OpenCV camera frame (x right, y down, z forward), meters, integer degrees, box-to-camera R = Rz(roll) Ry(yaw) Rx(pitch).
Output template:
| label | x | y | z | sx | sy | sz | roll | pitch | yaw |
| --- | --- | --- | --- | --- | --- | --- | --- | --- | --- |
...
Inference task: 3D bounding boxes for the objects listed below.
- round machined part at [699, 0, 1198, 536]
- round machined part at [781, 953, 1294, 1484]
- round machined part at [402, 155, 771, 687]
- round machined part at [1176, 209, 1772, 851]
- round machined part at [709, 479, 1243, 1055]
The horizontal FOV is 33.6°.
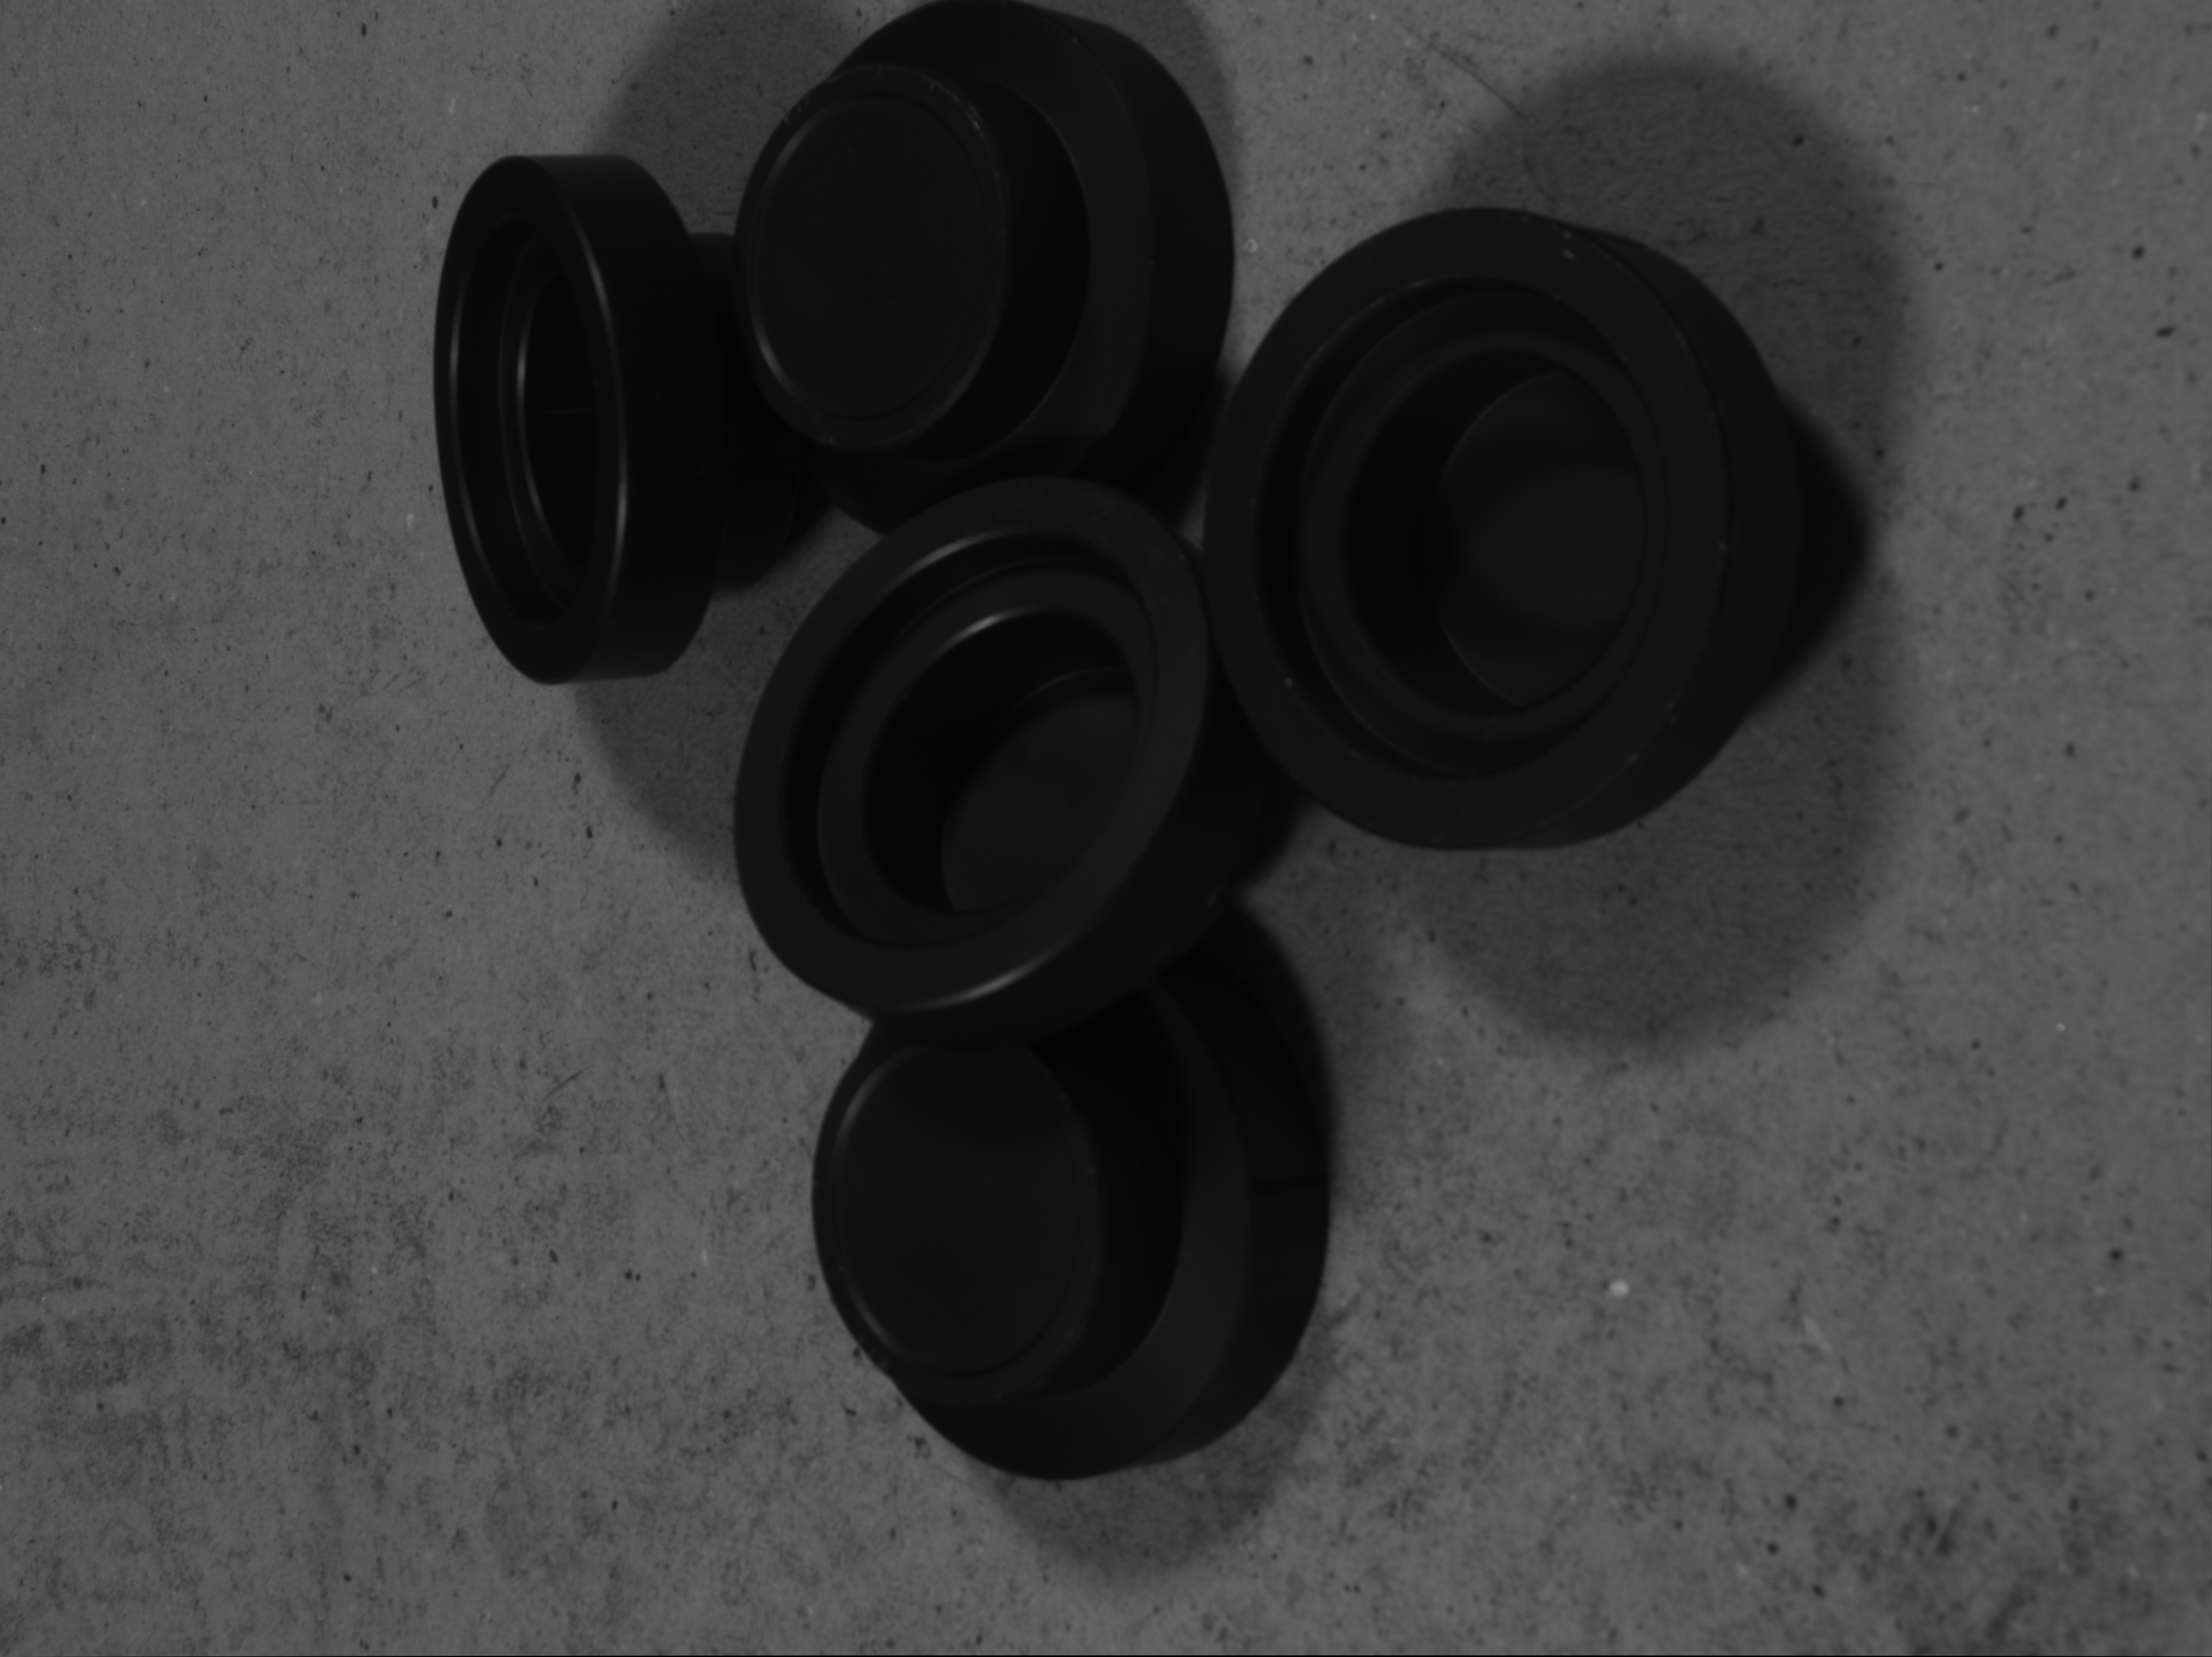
| label | x | y | z | sx | sy | sz | roll | pitch | yaw |
| --- | --- | --- | --- | --- | --- | --- | --- | --- | --- |
| round machined part | -0.034 | -0.099 | 0.653 | 0.098 | 0.042 | 0.098 | 0 | 90 | 39 |
| round machined part | -0.018 | 0.065 | 0.640 | 0.098 | 0.042 | 0.098 | 0 | 90 | 39 |
| round machined part | -0.096 | -0.077 | 0.691 | 0.098 | 0.042 | 0.098 | 22 | 115 | 57 |
| round machined part | 0.062 | -0.045 | 0.575 | 0.098 | 0.042 | 0.098 | 0 | 90 | 39 |
| round machined part | -0.017 | -0.007 | 0.626 | 0.098 | 0.042 | 0.098 | -17 | 57 | 29 |
